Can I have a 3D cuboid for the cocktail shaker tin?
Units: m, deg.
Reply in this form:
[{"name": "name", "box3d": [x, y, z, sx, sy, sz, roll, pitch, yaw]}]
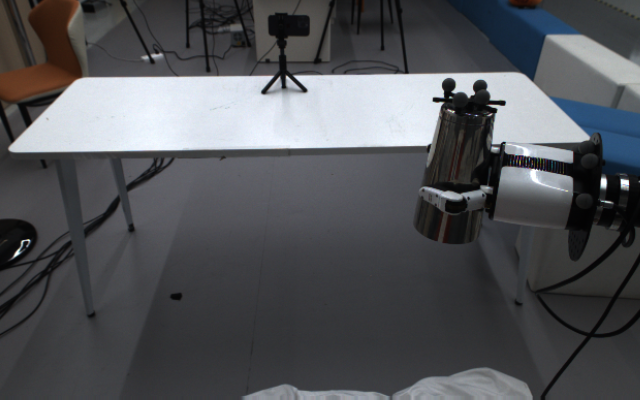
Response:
[{"name": "cocktail shaker tin", "box3d": [0.182, -0.040, 0.637, 0.093, 0.170, 0.093, 2, 28, -1]}]
